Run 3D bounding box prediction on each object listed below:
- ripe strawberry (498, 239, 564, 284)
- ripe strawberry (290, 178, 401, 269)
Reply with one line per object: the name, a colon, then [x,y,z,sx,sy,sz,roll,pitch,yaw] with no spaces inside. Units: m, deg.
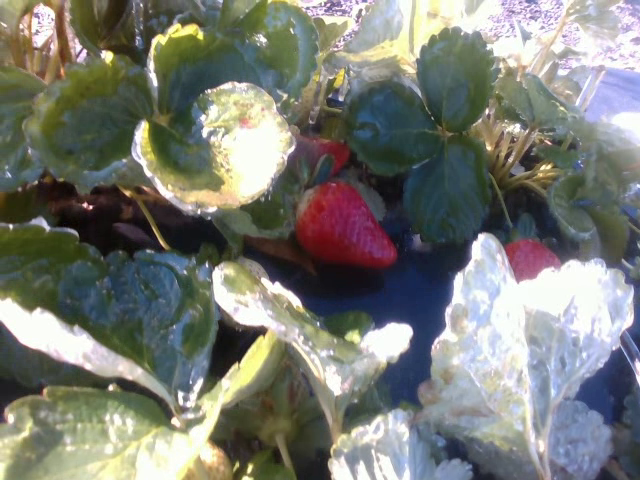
ripe strawberry: [0.107,0.019,0.306,0.039,0.047,0.040,31,-47,-11]
ripe strawberry: [0.017,-0.006,0.289,0.056,0.044,0.040,39,-37,-4]
